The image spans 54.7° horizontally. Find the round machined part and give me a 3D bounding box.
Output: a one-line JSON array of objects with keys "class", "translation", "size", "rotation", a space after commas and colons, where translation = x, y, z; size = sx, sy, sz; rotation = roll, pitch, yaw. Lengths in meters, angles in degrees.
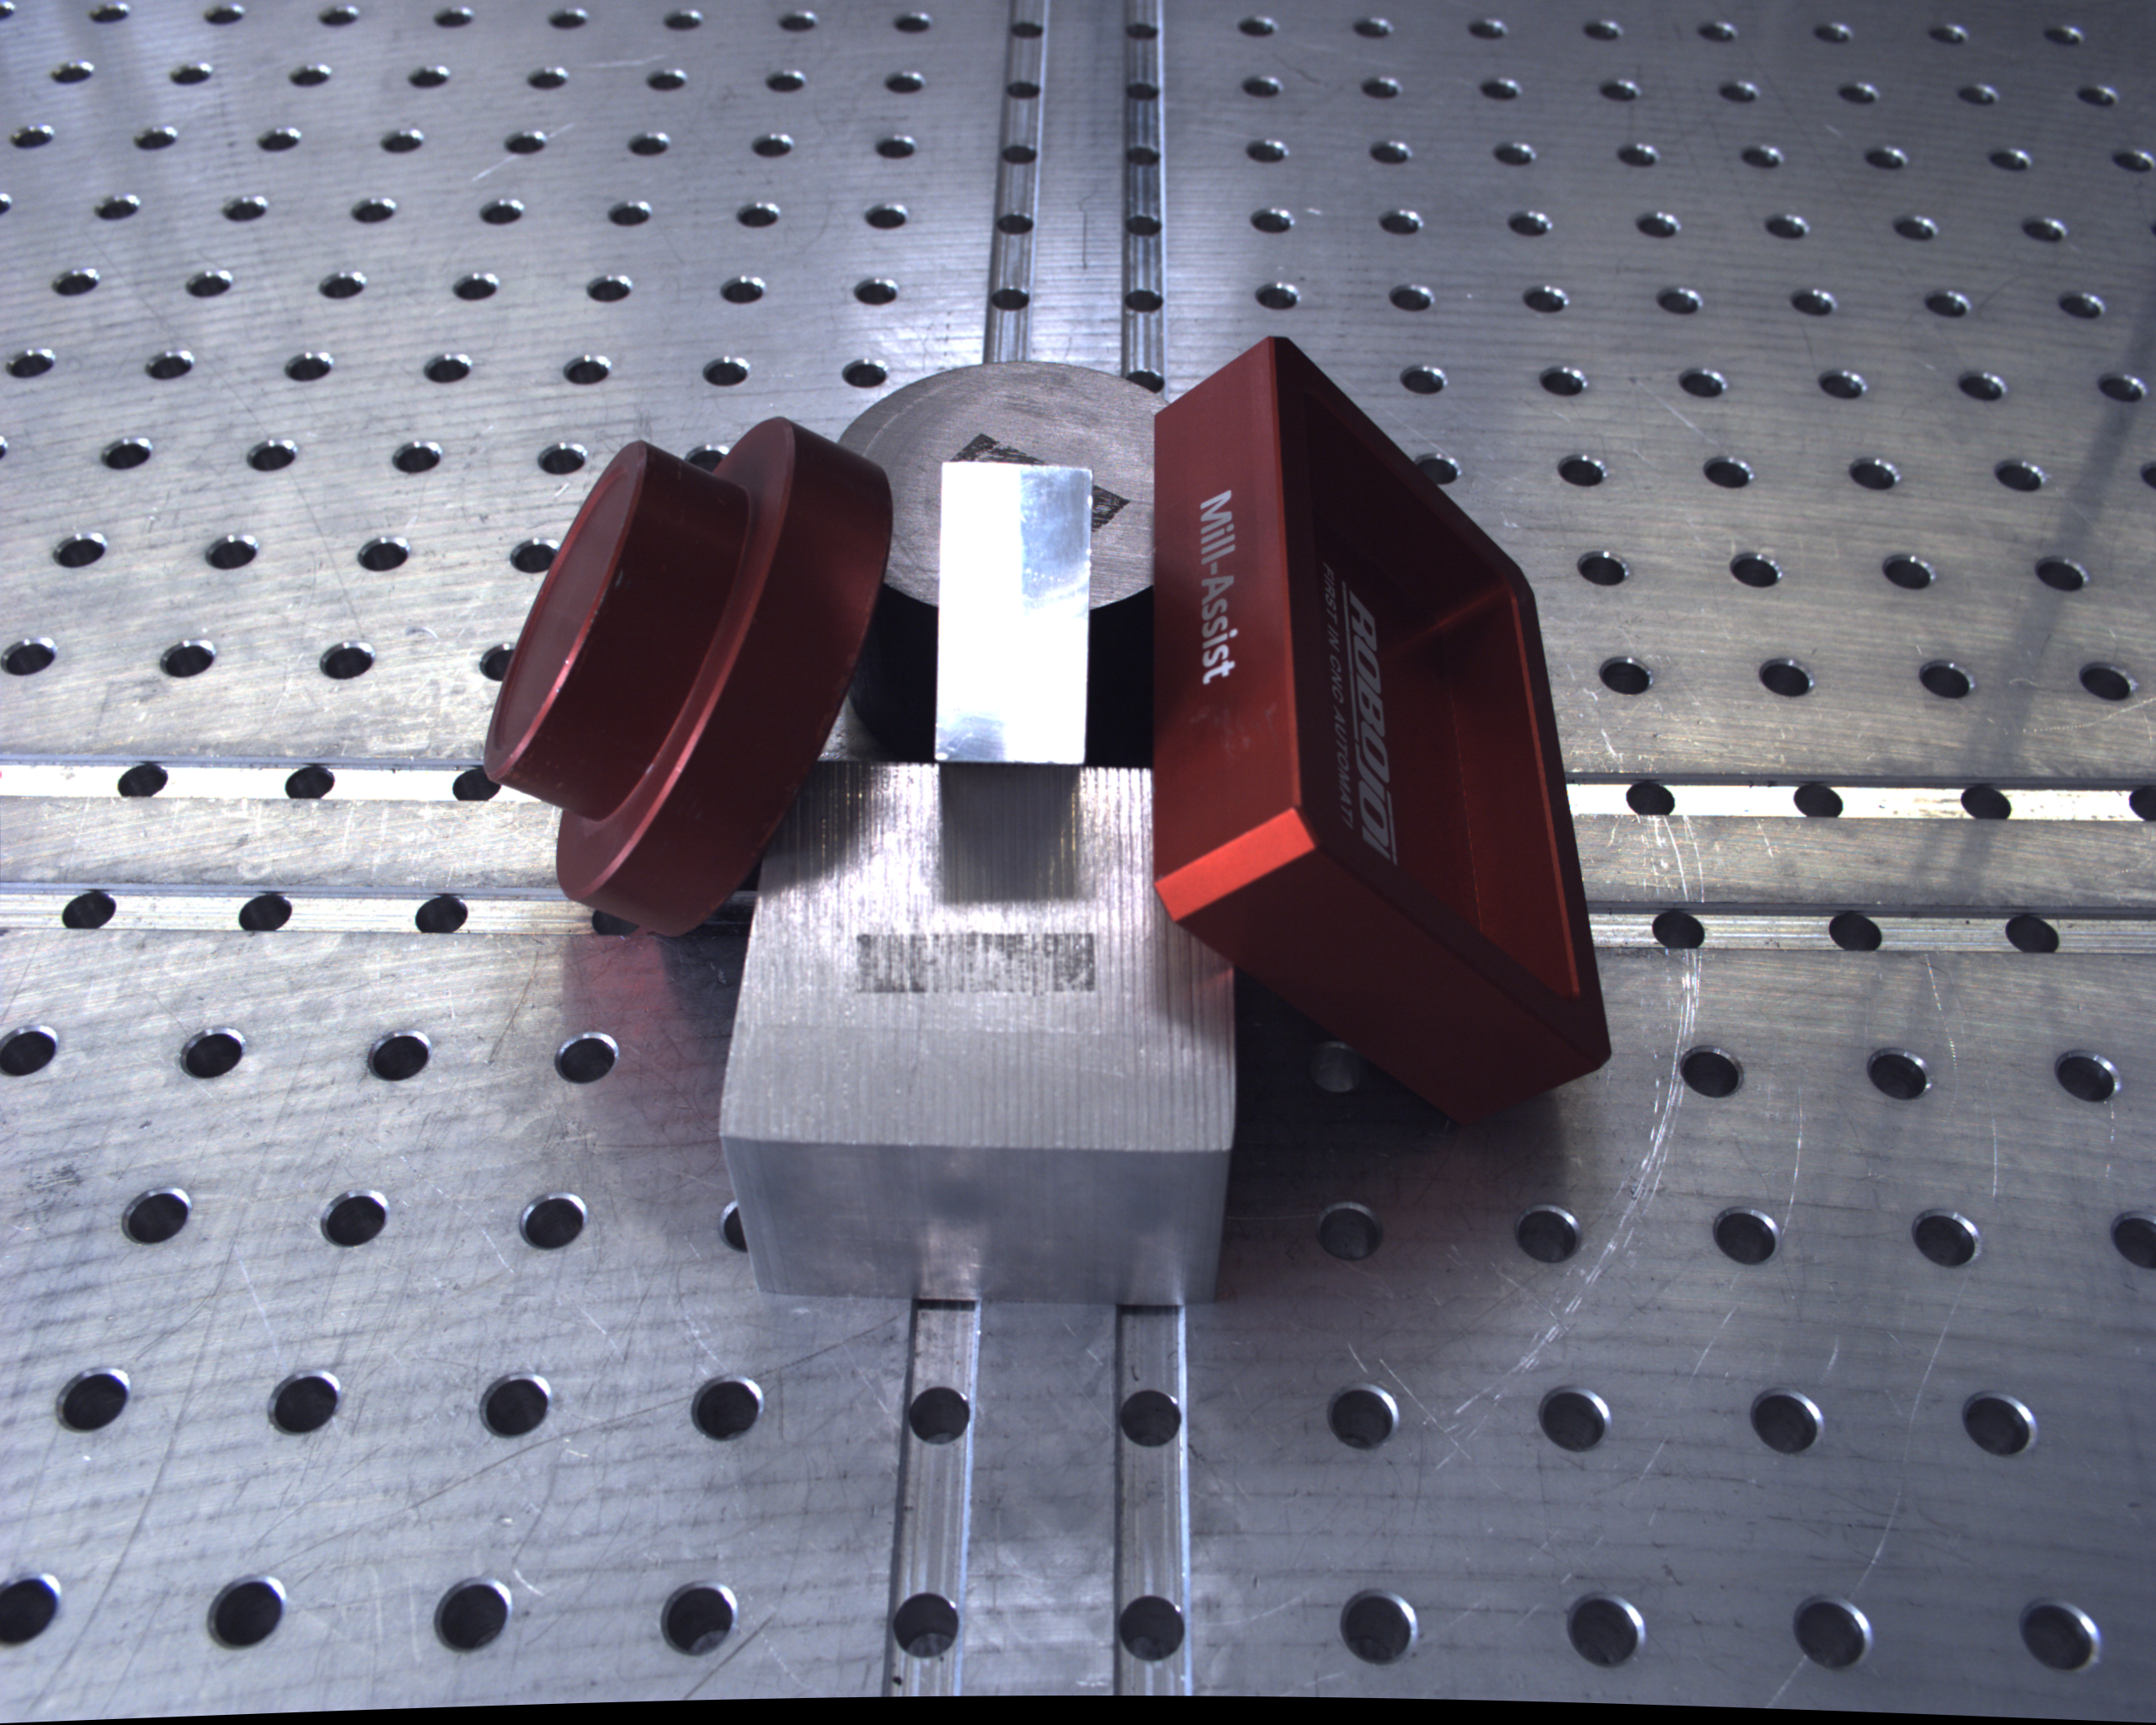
[{"class": "round machined part", "translation": [-0.077, -0.039, 0.387], "size": [0.042, 0.098, 0.098], "rotation": [24, 45, -24]}]

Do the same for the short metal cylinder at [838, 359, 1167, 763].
[{"class": "short metal cylinder", "translation": [-0.011, -0.062, 0.442], "size": [0.080, 0.050, 0.080], "rotation": [0, 50, 0]}]

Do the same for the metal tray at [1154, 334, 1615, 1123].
[{"class": "metal tray", "translation": [0.055, -0.027, 0.390], "size": [0.030, 0.090, 0.130], "rotation": [-30, 40, 32]}]

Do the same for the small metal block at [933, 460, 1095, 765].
[{"class": "small metal block", "translation": [-0.012, -0.043, 0.372], "size": [0.025, 0.050, 0.050], "rotation": [2, 92, -2]}]

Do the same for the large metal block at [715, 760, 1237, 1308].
[{"class": "large metal block", "translation": [-0.014, 0.029, 0.366], "size": [0.080, 0.050, 0.080], "rotation": [2, 50, 1]}]
